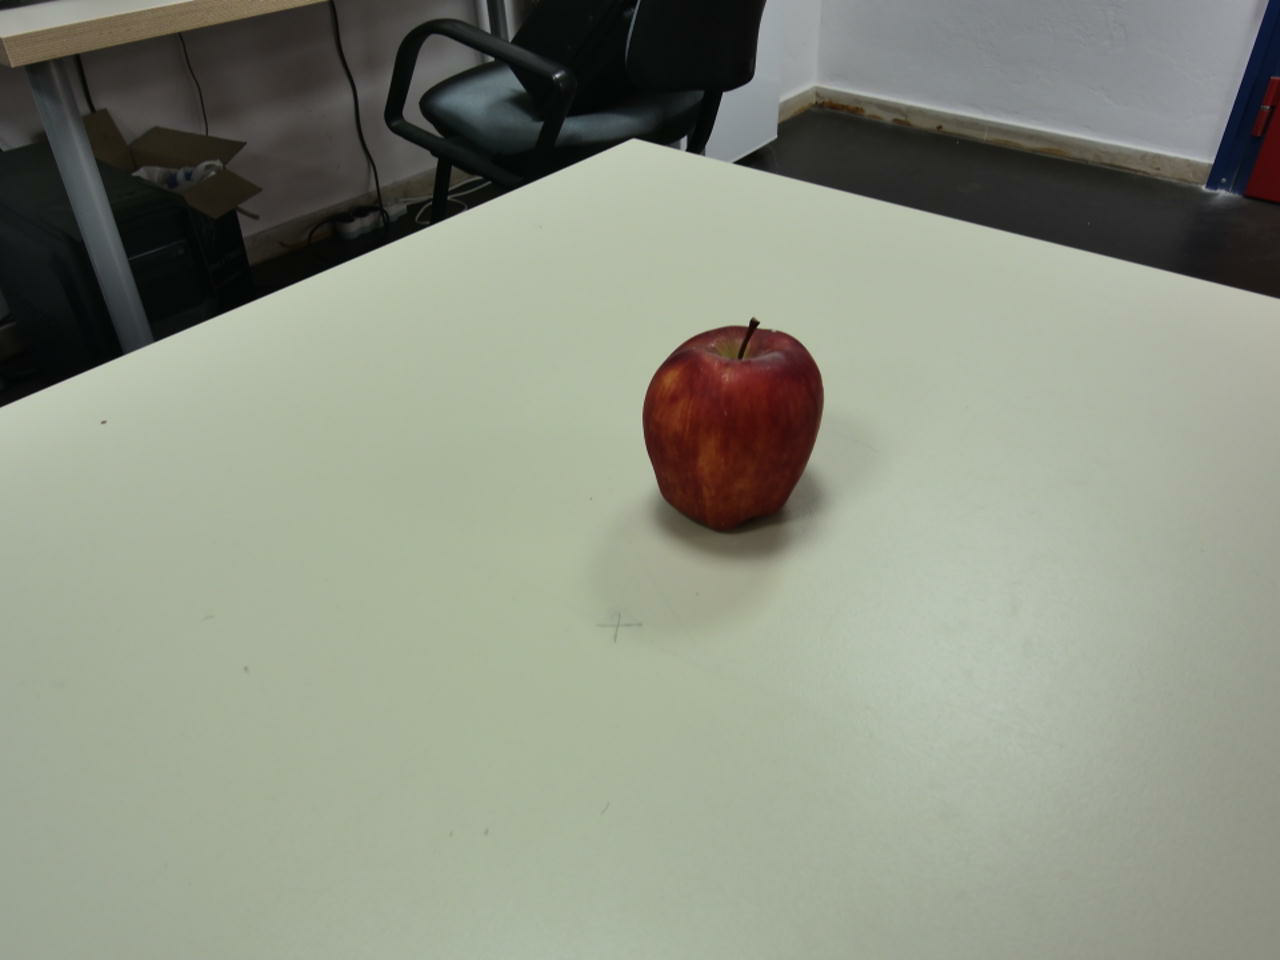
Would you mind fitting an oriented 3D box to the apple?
[{"bbox_3d":[0.041,-0.029,0.433,0.083,0.090,0.083,-1,36,1],"label":"apple"}]
